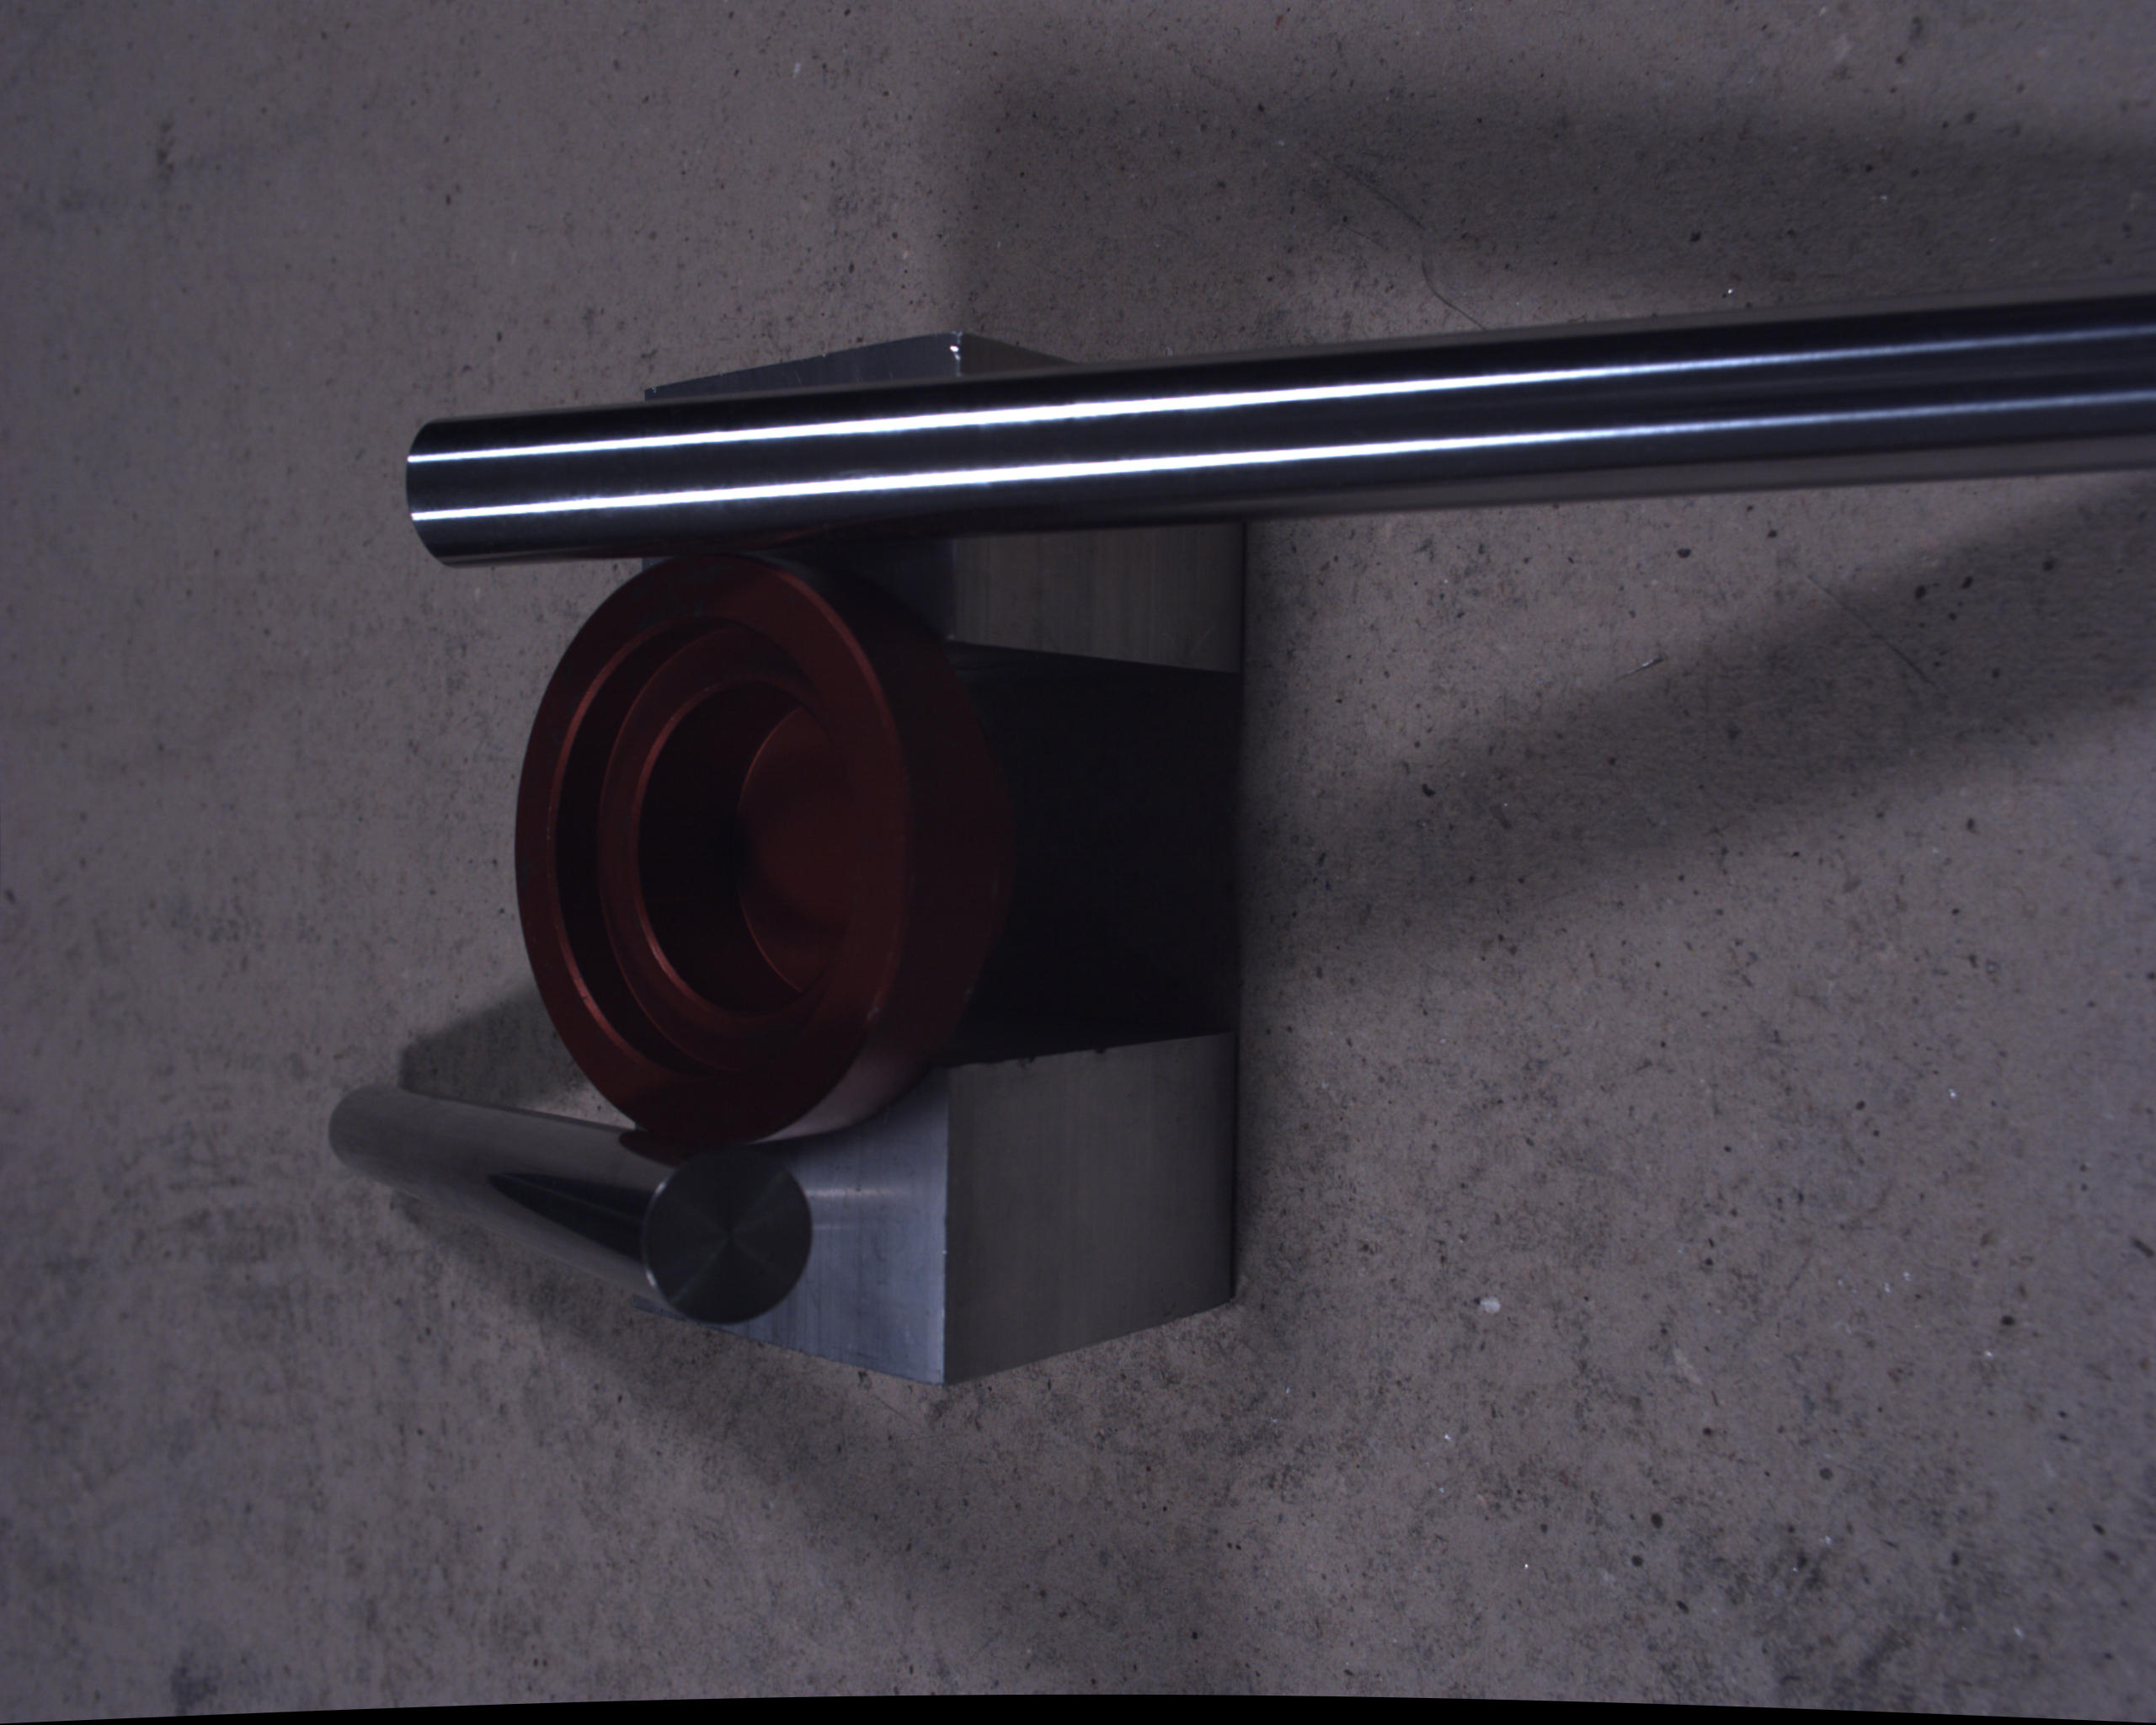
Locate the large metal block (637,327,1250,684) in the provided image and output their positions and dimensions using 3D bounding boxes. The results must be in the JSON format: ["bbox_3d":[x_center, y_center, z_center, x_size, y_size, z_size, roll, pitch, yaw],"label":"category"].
[{"bbox_3d":[-0.024,-0.061,0.388,0.080,0.081,0.050,2,91,39],"label":"large metal block"}]

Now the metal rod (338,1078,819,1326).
[{"bbox_3d":[-0.118,0.062,0.429,0.299,0.025,0.025,-7,85,62],"label":"metal rod"}]

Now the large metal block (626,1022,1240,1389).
[{"bbox_3d":[-0.026,0.058,0.390,0.080,0.081,0.050,2,91,39],"label":"large metal block"}]

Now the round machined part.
[{"bbox_3d":[-0.049,-0.002,0.357,0.098,0.042,0.097,0,90,39],"label":"round machined part"}]

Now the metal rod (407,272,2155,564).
[{"bbox_3d":[0.040,-0.063,0.302,0.301,0.025,0.025,0,90,17],"label":"metal rod"}]
